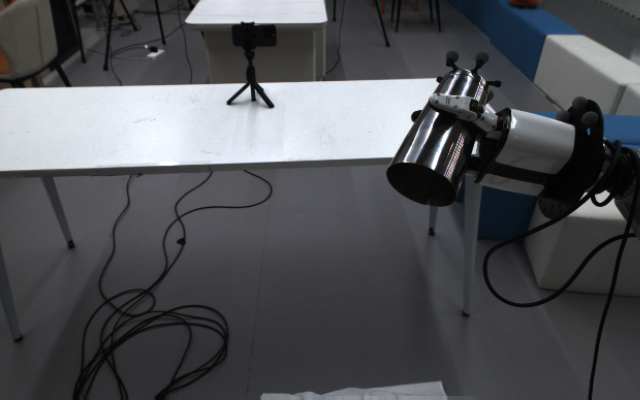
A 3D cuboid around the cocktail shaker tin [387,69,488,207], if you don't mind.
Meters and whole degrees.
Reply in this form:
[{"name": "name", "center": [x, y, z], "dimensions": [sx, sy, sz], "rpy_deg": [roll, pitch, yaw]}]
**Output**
[{"name": "cocktail shaker tin", "center": [0.164, -0.091, 0.628], "dimensions": [0.093, 0.093, 0.170], "rpy_deg": [18, 66, 21]}]
